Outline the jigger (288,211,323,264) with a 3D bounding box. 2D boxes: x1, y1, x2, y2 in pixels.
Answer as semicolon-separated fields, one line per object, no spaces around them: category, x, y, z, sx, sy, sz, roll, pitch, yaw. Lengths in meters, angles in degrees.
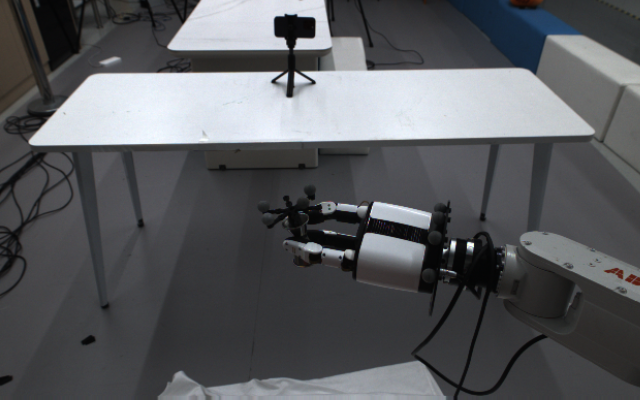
jigger;-0.026;0.057;0.695;0.043;0.071;0.043;-12;29;7
